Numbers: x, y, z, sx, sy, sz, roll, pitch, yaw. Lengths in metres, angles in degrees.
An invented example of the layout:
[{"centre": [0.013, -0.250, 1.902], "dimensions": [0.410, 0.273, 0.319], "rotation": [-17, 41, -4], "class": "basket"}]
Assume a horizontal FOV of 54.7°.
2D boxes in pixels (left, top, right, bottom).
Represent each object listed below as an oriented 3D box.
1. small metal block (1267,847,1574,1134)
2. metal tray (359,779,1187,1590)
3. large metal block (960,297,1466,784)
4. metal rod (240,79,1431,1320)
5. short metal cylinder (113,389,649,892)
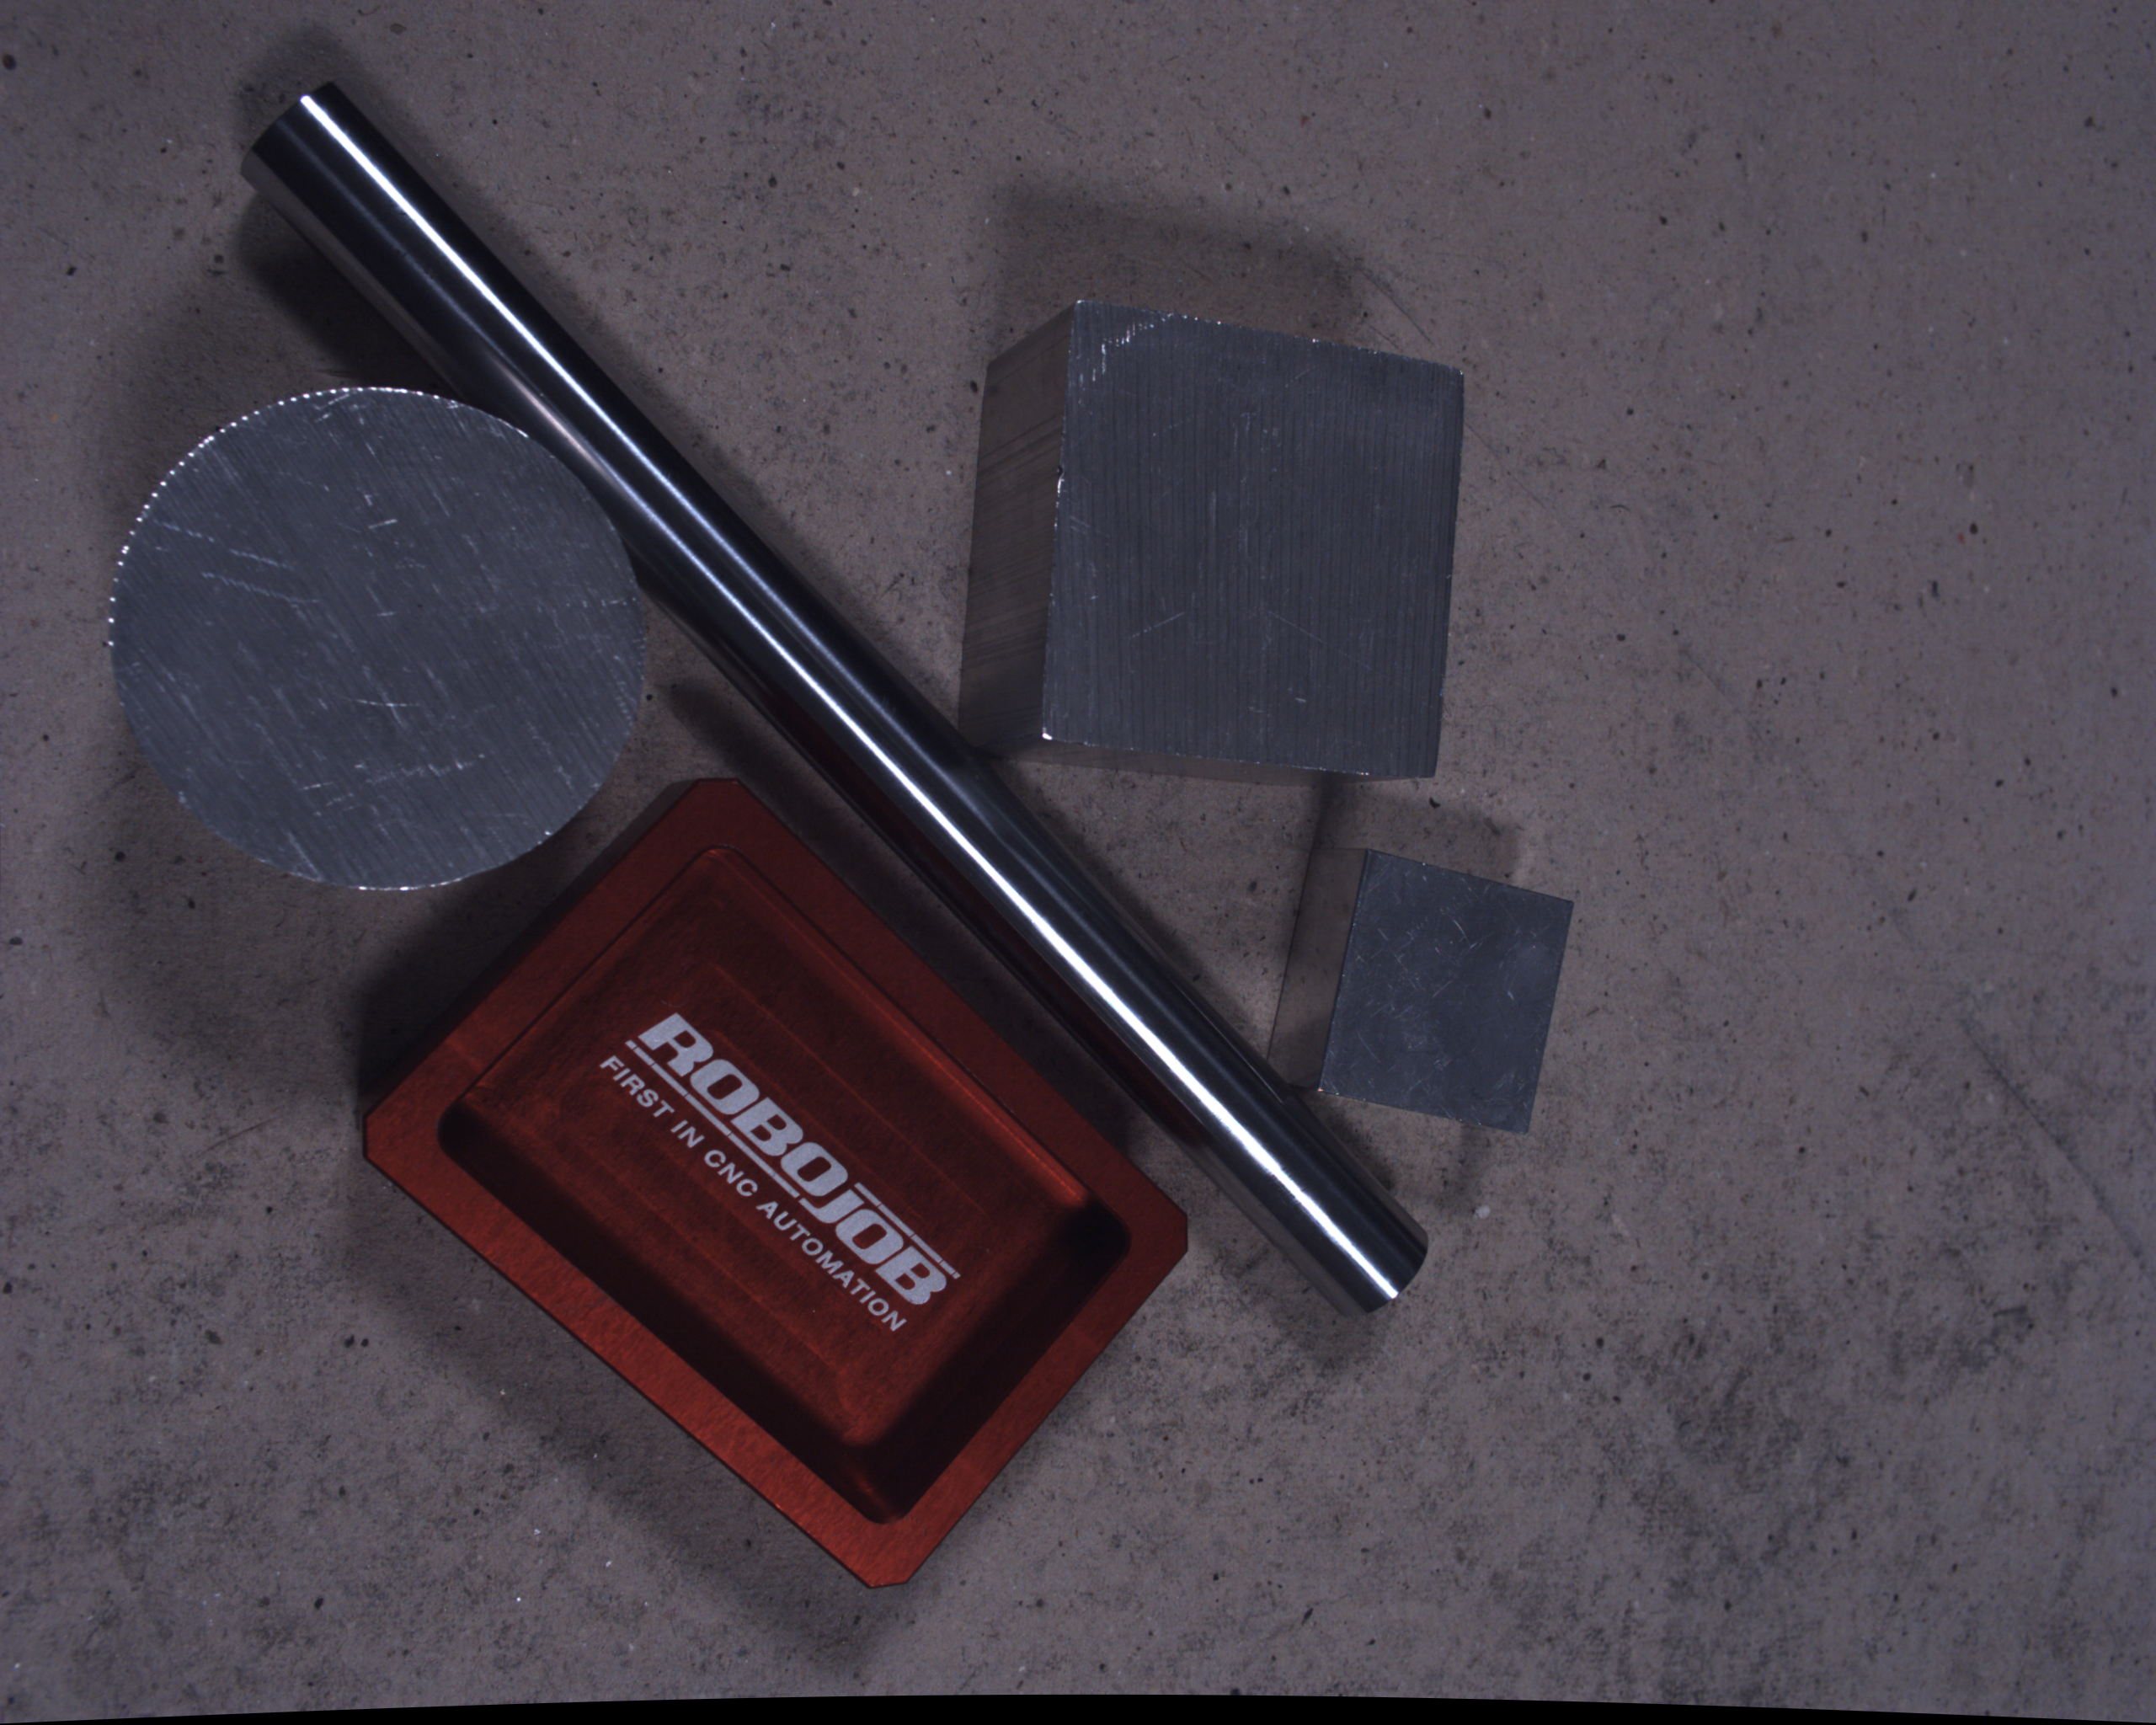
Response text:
[{"centre": [0.071, 0.027, 0.439], "dimensions": [0.050, 0.025, 0.050], "rotation": [14, 85, -20], "class": "small metal block"}, {"centre": [-0.054, 0.059, 0.388], "dimensions": [0.130, 0.030, 0.090], "rotation": [46, 76, -15], "class": "metal tray"}, {"centre": [0.025, -0.058, 0.407], "dimensions": [0.081, 0.050, 0.080], "rotation": [5, 89, -20], "class": "large metal block"}, {"centre": [-0.036, -0.020, 0.397], "dimensions": [0.025, 0.025, 0.300], "rotation": [-47, 105, -14], "class": "metal rod"}, {"centre": [-0.117, -0.035, 0.354], "dimensions": [0.081, 0.050, 0.079], "rotation": [0, 90, -21], "class": "short metal cylinder"}]
